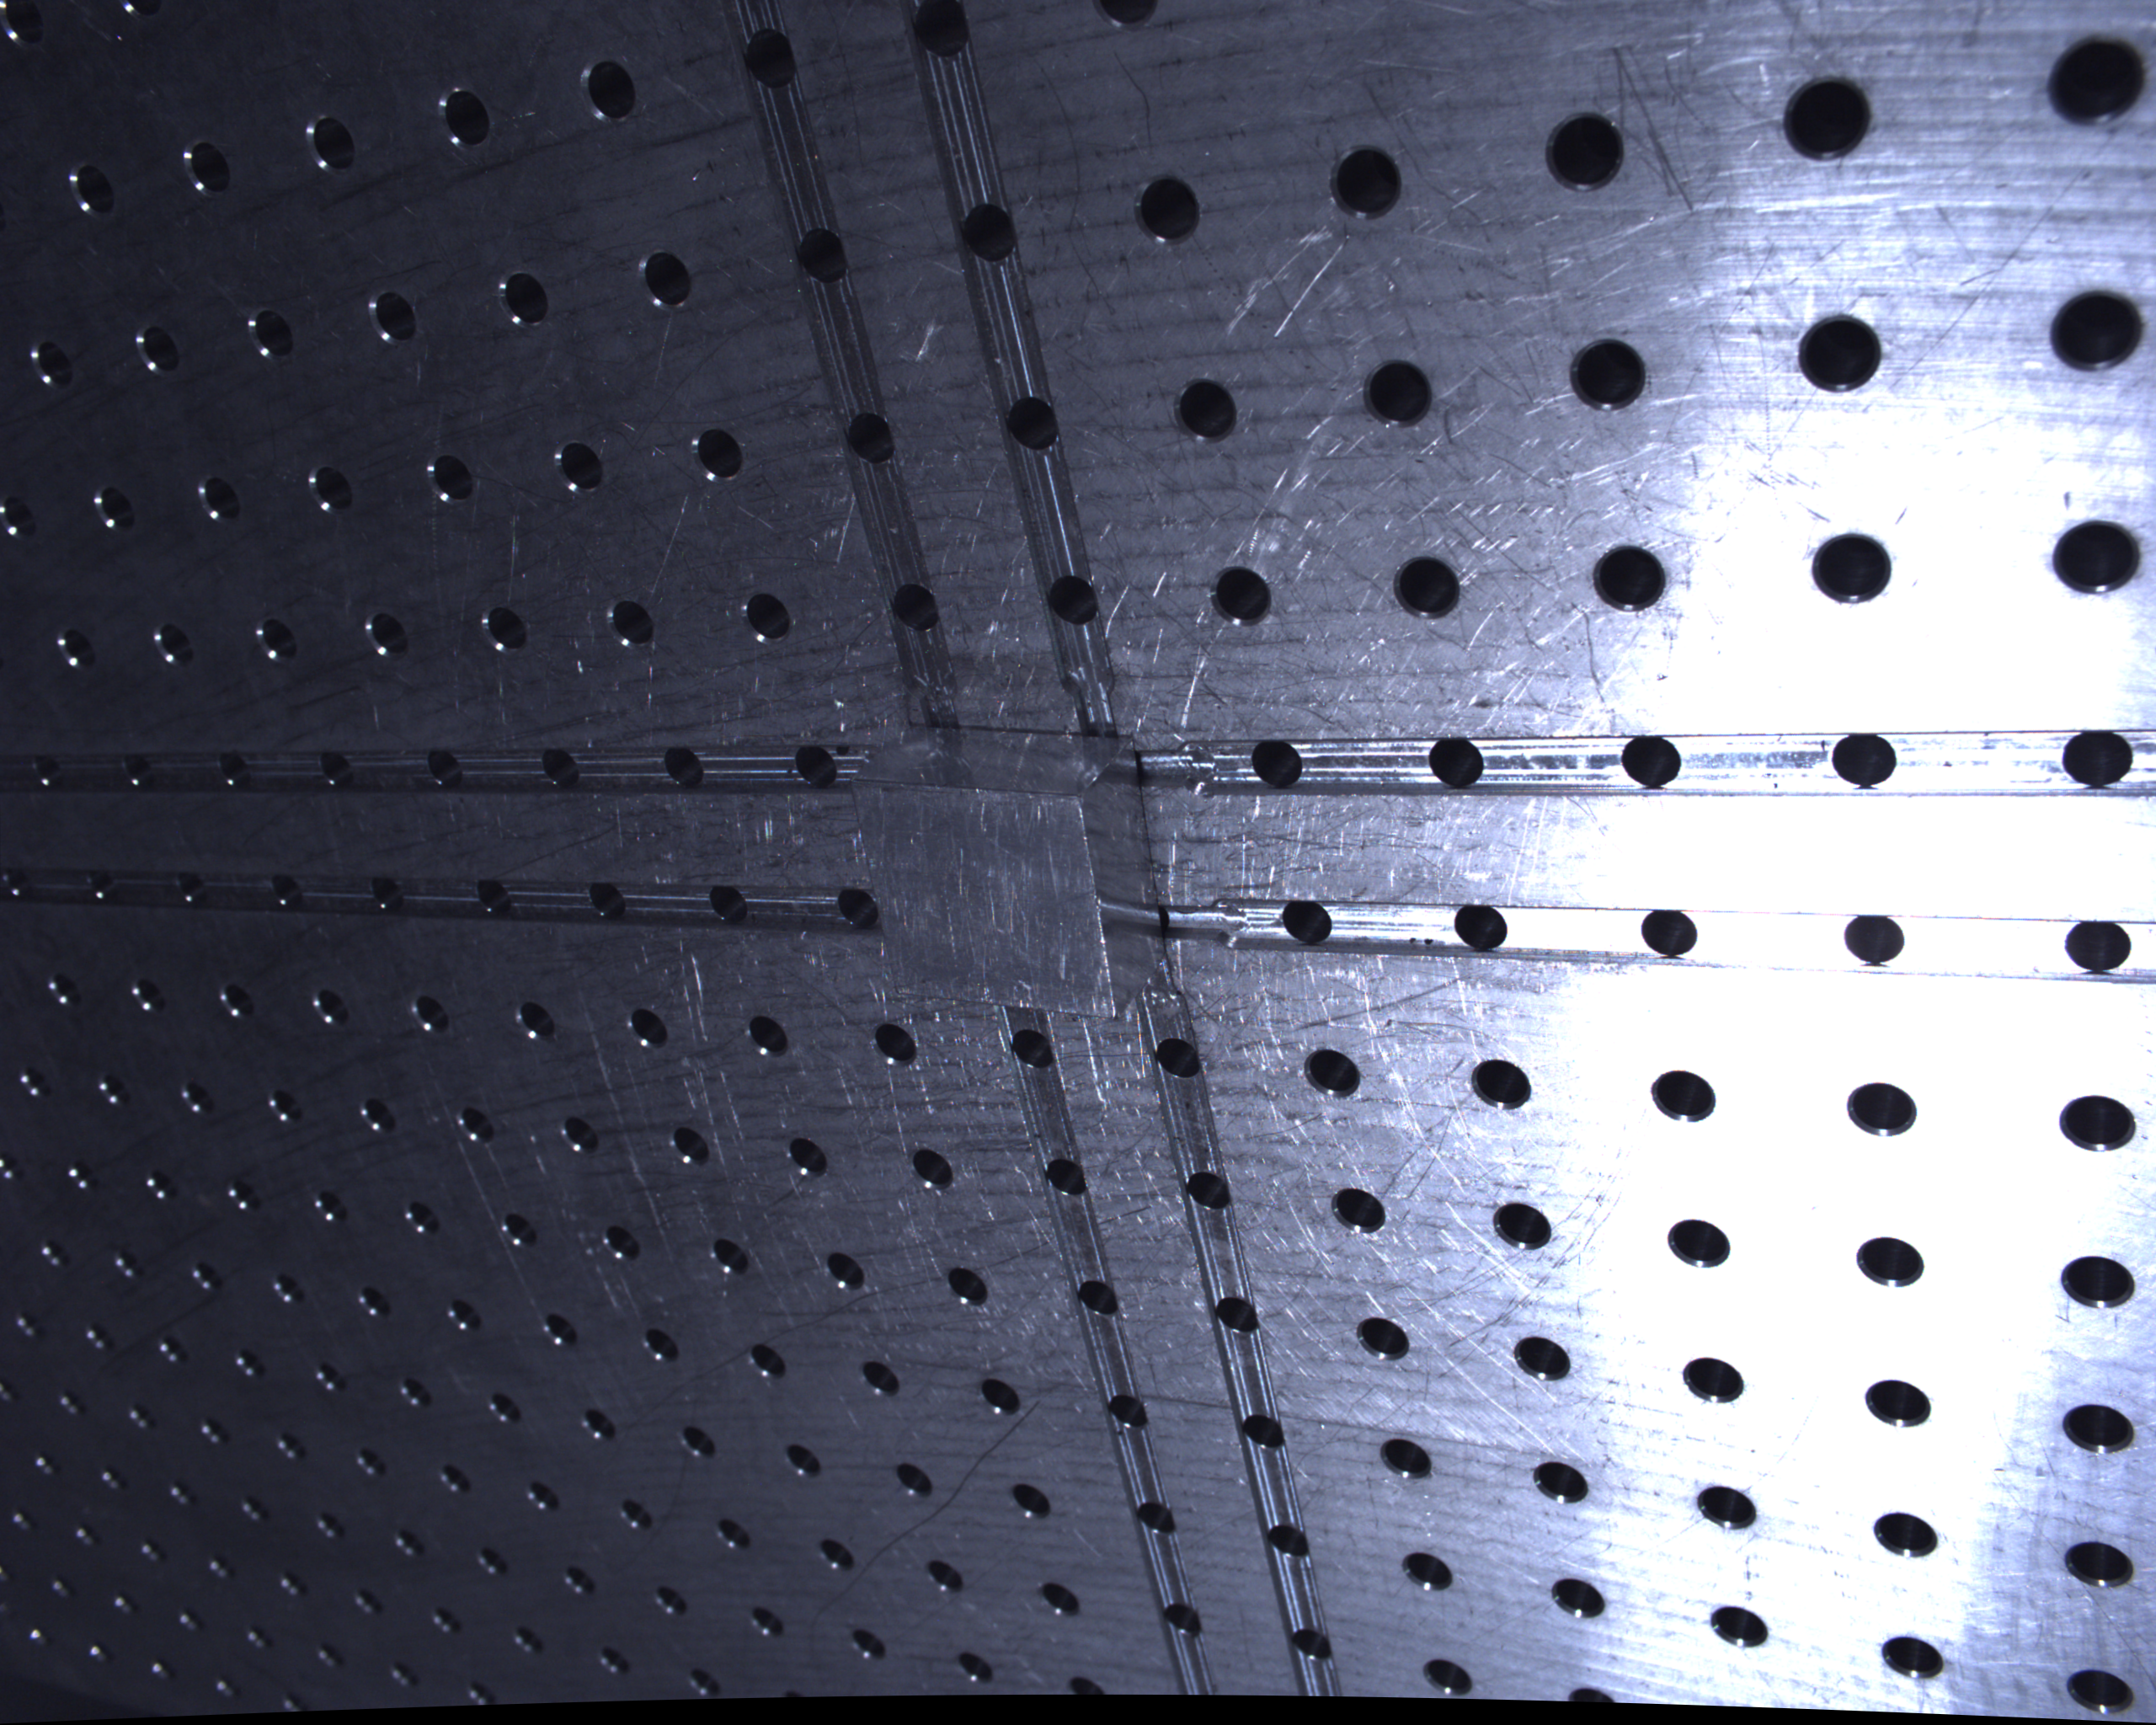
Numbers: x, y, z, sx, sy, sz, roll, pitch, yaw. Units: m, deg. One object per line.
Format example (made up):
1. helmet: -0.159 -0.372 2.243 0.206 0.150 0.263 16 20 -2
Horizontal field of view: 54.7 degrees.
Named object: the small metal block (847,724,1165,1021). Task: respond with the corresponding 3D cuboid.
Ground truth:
1. small metal block: -0.014 0.001 0.417 0.050 0.025 0.050 5 121 25
